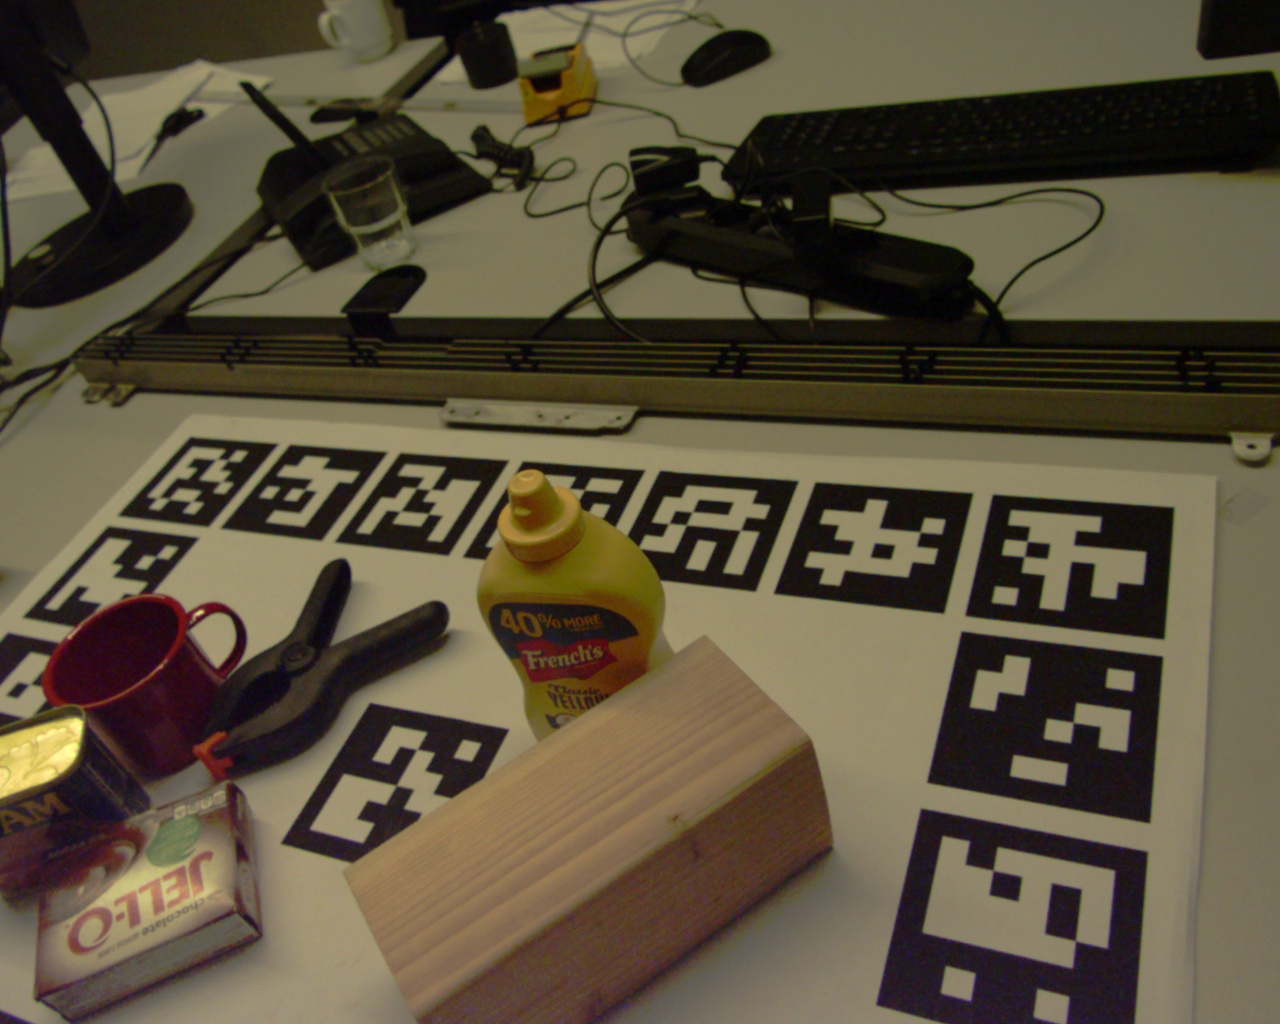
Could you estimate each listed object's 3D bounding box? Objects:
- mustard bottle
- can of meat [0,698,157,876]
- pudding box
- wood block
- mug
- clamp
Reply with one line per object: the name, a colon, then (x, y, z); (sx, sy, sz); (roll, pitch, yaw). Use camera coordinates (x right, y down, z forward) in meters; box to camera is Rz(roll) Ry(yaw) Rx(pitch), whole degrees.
mustard bottle: (-0.039, 0.052, 0.617); (0.097, 0.190, 0.058); (1, 45, 22)
can of meat: (-0.358, 0.168, 0.688); (0.102, 0.083, 0.058); (-17, 42, 2)
pudding box: (-0.269, 0.210, 0.651); (0.113, 0.038, 0.091); (-22, 42, -6)
wood block: (-0.023, 0.167, 0.571); (0.205, 0.090, 0.091); (-30, 41, -15)
mug: (-0.305, 0.114, 0.769); (0.094, 0.081, 0.116); (25, 59, 38)
clamp: (-0.215, 0.095, 0.762); (0.123, 0.036, 0.164); (23, 58, 36)
